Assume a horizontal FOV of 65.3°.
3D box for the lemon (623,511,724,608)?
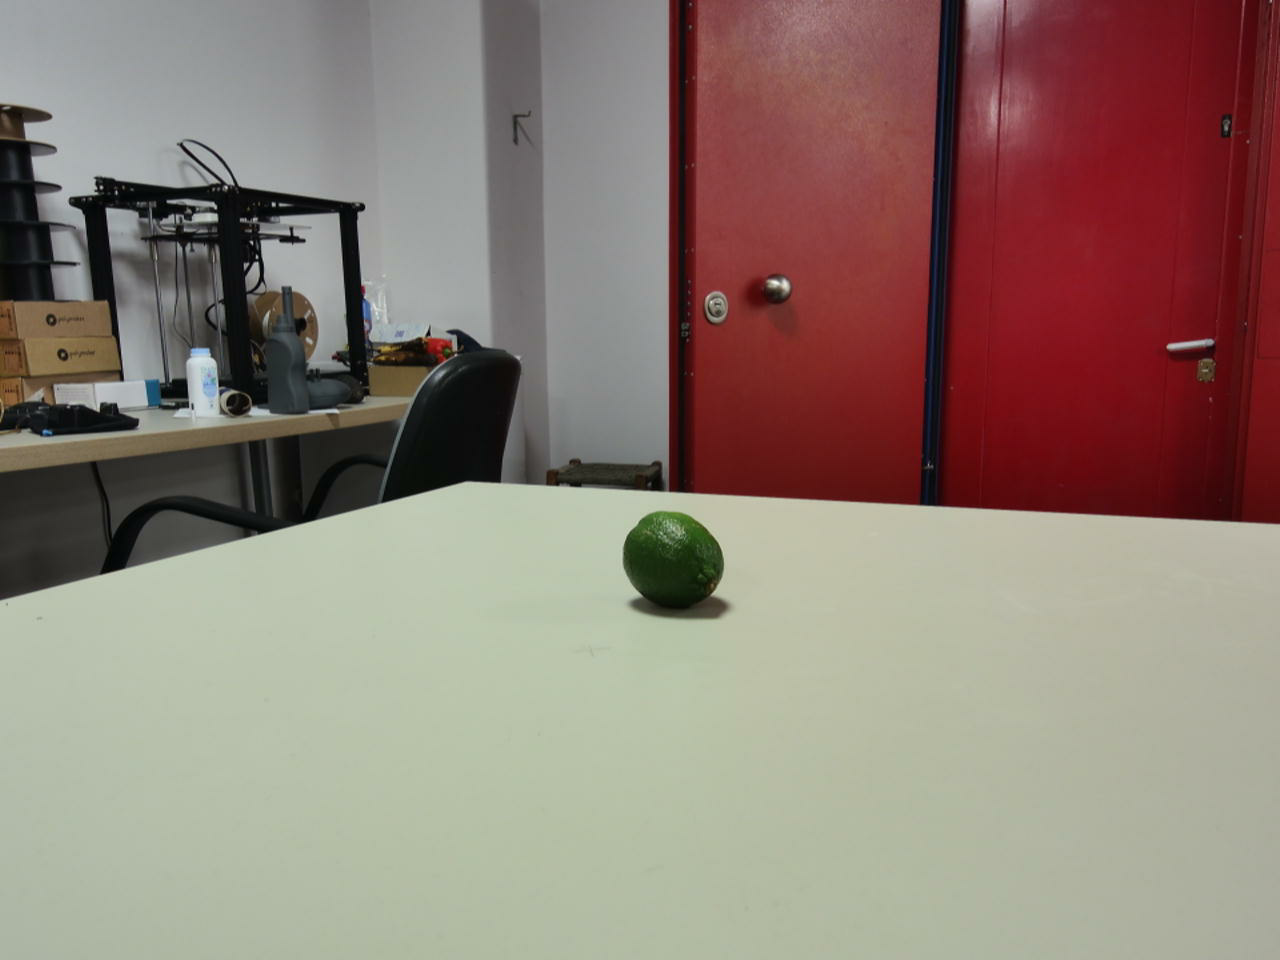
[{"bbox_3d":[0.019,0.043,0.547,0.057,0.051,0.054,2,7,20],"label":"lemon"}]
